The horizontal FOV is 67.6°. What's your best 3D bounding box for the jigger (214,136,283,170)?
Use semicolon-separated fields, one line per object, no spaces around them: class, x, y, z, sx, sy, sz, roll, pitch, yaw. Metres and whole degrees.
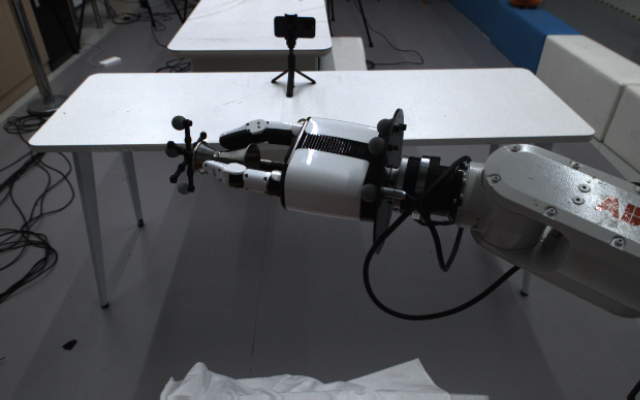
jigger;-0.104;-0.050;0.575;0.071;0.043;0.043;6;34;16
